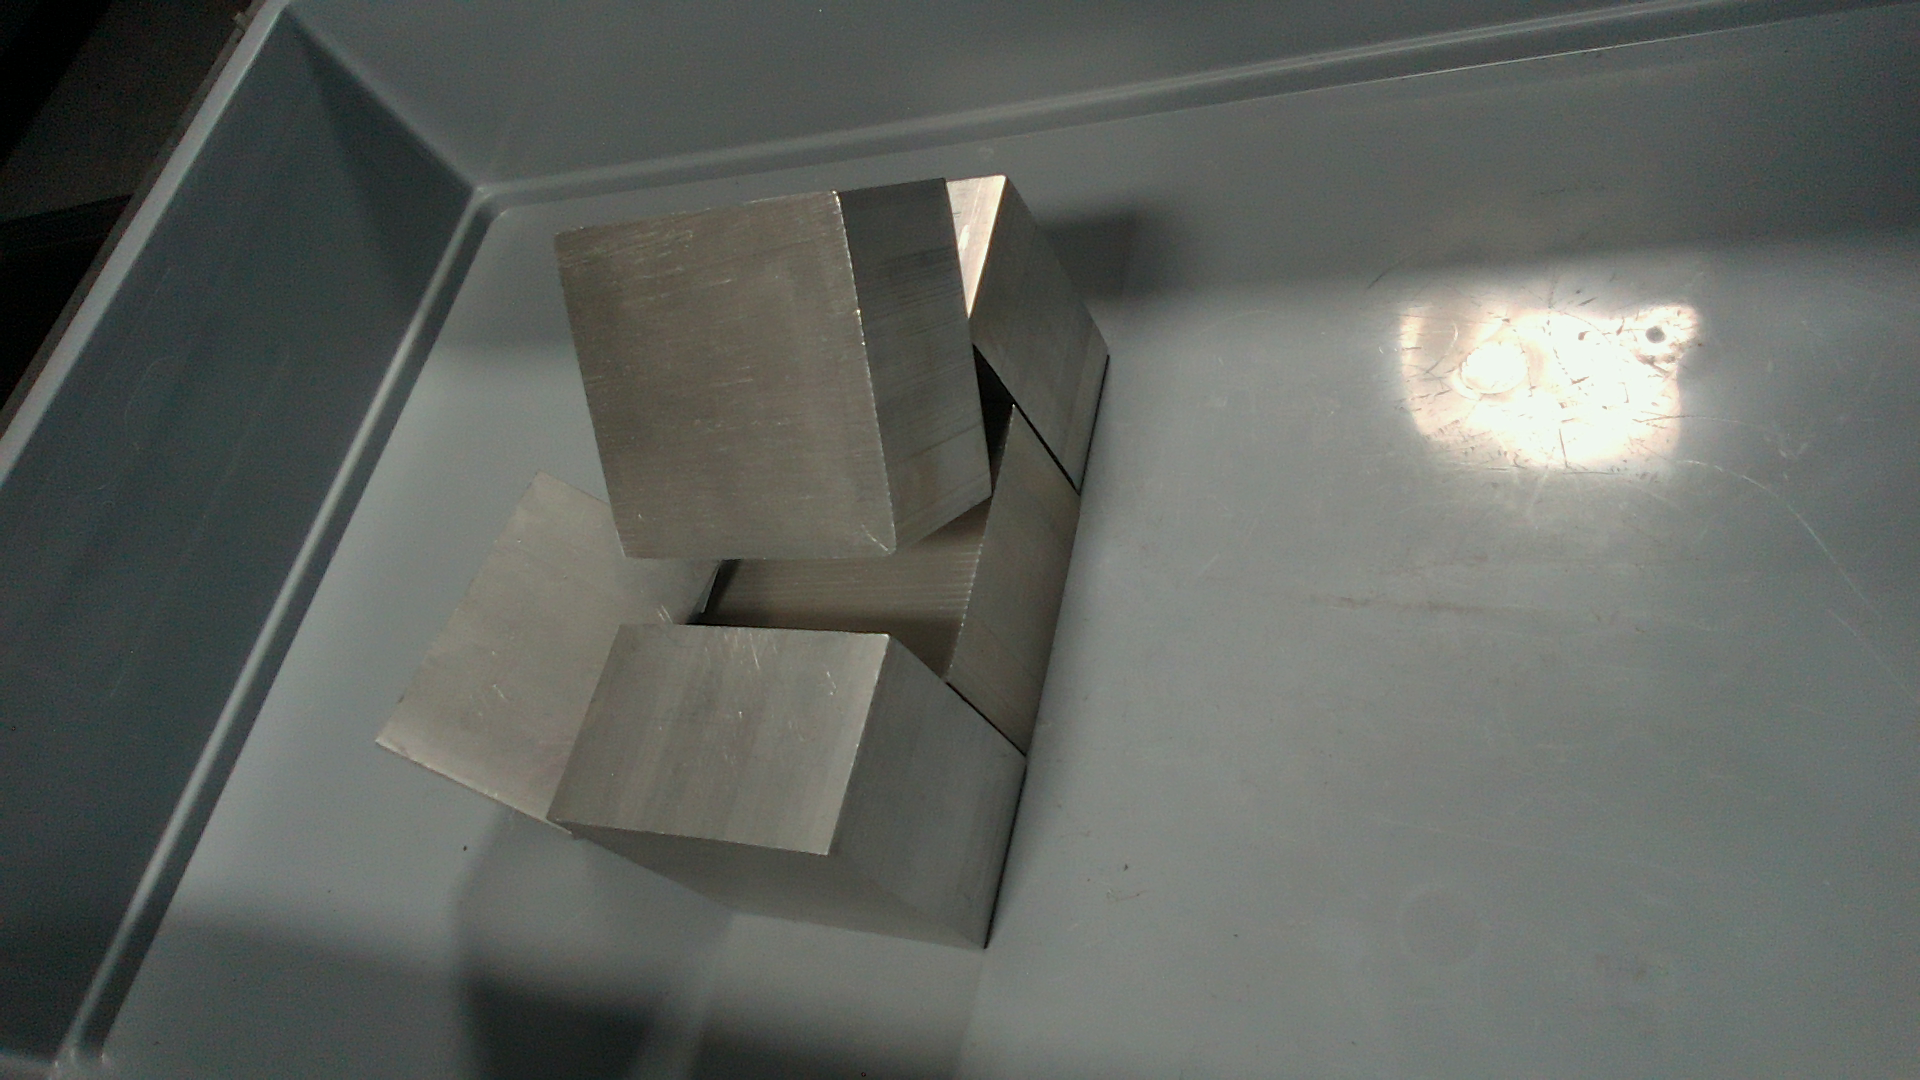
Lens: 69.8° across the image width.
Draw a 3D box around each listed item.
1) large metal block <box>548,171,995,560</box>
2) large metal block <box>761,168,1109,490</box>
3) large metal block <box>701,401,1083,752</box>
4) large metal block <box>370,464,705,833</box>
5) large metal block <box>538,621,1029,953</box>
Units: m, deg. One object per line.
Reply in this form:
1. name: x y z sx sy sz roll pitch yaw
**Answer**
1. large metal block: -0.044 -0.041 0.333 0.080 0.080 0.050 -1 16 28
2. large metal block: -0.012 -0.055 0.396 0.080 0.080 0.050 -1 61 28
3. large metal block: -0.019 0.011 0.382 0.080 0.050 0.080 -1 61 28
4. large metal block: -0.114 0.035 0.386 0.050 0.080 0.080 27 72 -7
5. large metal block: -0.040 0.061 0.339 0.080 0.080 0.050 0 62 29
